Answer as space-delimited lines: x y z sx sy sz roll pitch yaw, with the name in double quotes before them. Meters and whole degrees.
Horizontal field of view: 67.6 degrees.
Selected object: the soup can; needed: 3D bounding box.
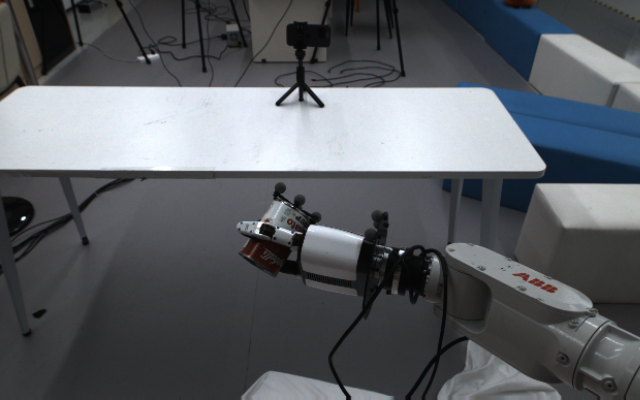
"soup can" -0.069 0.058 0.737 0.067 0.067 0.101 25 73 29
